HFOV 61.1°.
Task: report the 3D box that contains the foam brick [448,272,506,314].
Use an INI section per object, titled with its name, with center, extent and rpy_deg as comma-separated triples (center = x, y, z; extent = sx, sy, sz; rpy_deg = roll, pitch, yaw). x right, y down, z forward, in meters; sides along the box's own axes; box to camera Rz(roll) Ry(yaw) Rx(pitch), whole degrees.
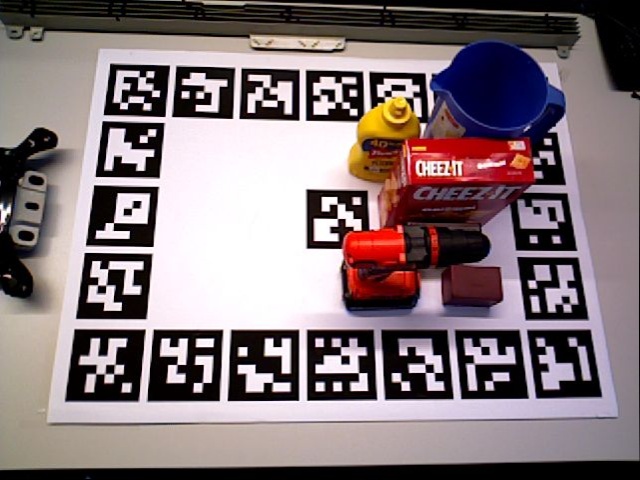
[foam brick]
center = 0.233, 0.079, 0.804
extent = 0.077, 0.052, 0.052
rpy_deg = 3, 74, -3

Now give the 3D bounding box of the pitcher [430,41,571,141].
[pitcher]
center = 0.236, -0.155, 0.776
extent = 0.188, 0.245, 0.132
rpy_deg = 7, 72, 0

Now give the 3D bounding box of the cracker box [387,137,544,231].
[cracker box]
center = 0.190, -0.057, 0.750
extent = 0.163, 0.216, 0.071
rpy_deg = -1, 70, -2

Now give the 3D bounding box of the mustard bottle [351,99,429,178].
[mustard bottle]
center = 0.104, -0.154, 0.780
extent = 0.096, 0.194, 0.058
rpy_deg = 14, 73, 0

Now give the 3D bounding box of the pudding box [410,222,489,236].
[pudding box]
center = 0.178, 0.006, 0.788
extent = 0.113, 0.091, 0.038
rpy_deg = 1, 71, 0

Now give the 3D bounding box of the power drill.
[power drill]
center = 0.122, 0.042, 0.701
extent = 0.183, 0.190, 0.057
rpy_deg = 0, 69, -4
